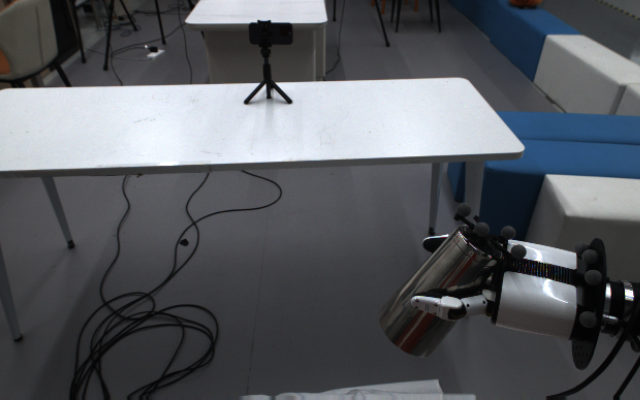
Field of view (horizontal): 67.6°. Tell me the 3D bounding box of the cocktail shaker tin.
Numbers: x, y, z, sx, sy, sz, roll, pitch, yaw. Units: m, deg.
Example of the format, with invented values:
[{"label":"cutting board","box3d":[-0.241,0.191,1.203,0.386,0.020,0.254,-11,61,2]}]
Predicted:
[{"label":"cocktail shaker tin","box3d":[0.161,0.111,0.641,0.093,0.170,0.093,25,29,-15]}]
